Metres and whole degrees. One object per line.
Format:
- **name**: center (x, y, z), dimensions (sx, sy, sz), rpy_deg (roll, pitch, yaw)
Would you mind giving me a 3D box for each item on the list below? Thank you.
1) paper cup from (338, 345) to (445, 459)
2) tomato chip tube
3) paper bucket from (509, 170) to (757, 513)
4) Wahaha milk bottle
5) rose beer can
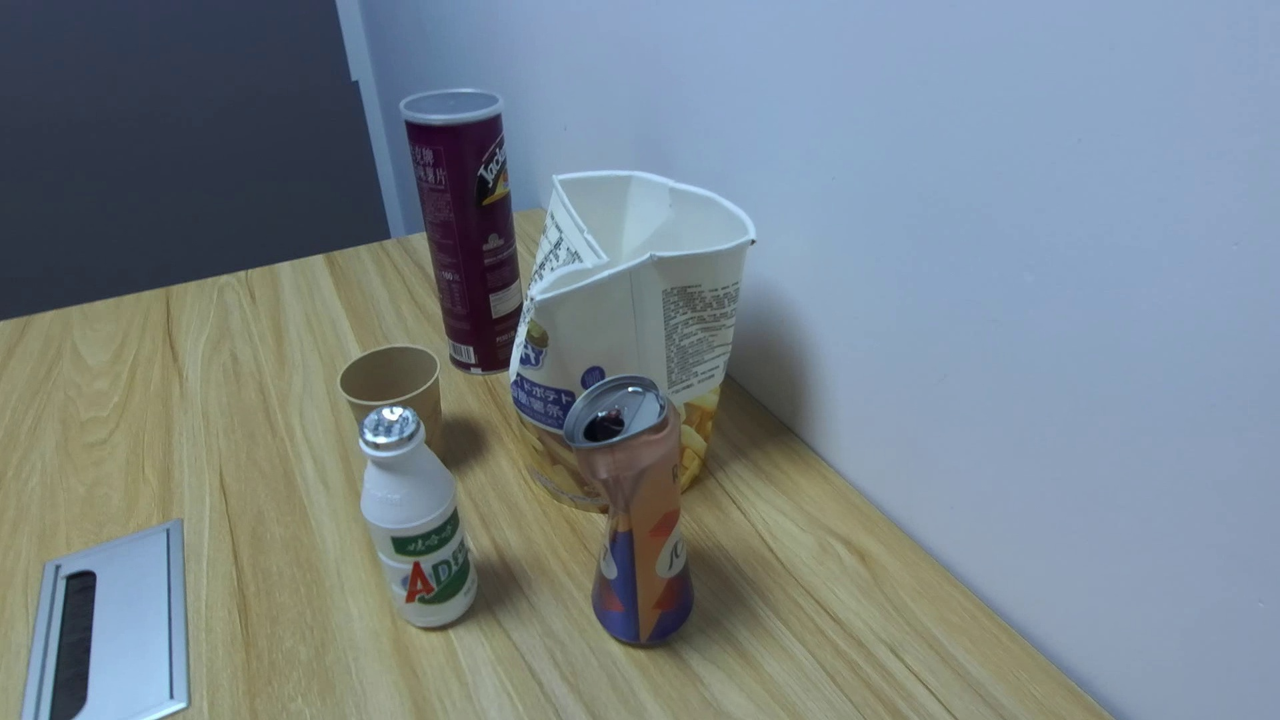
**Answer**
- **paper cup**: center (-0.185, 0.043, 0.544), dimensions (0.075, 0.082, 0.075), rpy_deg (1, 34, 0)
- **tomato chip tube**: center (-0.146, -0.103, 0.618), dimensions (0.078, 0.234, 0.078), rpy_deg (0, 33, 1)
- **paper bucket**: center (-0.022, -0.017, 0.523), dimensions (0.169, 0.202, 0.162), rpy_deg (-17, 37, -24)
- **Wahaha milk bottle**: center (-0.131, 0.094, 0.415), dimensions (0.053, 0.147, 0.053), rpy_deg (0, 34, 1)
- **rose beer can**: center (-0.002, 0.090, 0.405), dimensions (0.069, 0.168, 0.070), rpy_deg (25, 45, 36)
